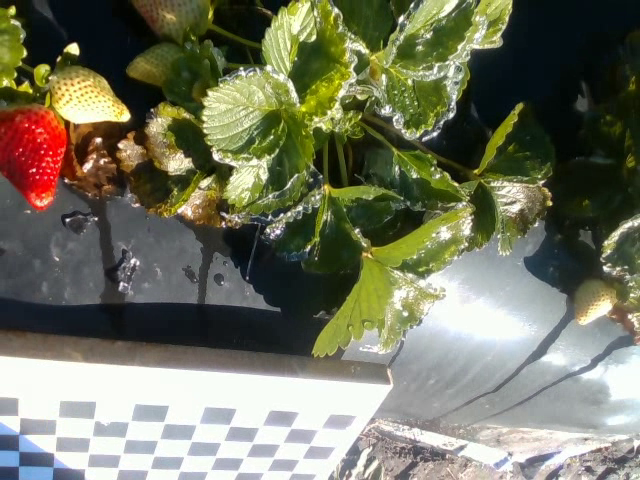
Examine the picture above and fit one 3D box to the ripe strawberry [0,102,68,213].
[{"bbox_3d":[-0.134,-0.036,0.275,0.040,0.053,0.042,-20,-19,4],"label":"ripe strawberry"}]
